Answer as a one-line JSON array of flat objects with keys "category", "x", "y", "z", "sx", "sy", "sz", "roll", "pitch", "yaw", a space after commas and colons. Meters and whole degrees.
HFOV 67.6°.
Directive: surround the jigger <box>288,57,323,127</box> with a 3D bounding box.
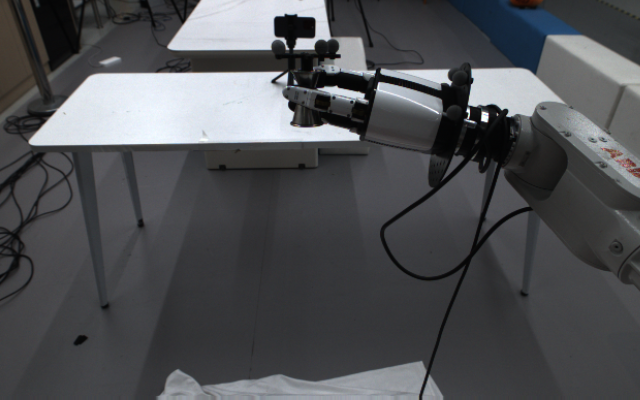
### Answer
[{"category": "jigger", "x": -0.017, "y": -0.130, "z": 0.618, "sx": 0.043, "sy": 0.071, "sz": 0.043, "roll": 0, "pitch": 21, "yaw": 0}]
